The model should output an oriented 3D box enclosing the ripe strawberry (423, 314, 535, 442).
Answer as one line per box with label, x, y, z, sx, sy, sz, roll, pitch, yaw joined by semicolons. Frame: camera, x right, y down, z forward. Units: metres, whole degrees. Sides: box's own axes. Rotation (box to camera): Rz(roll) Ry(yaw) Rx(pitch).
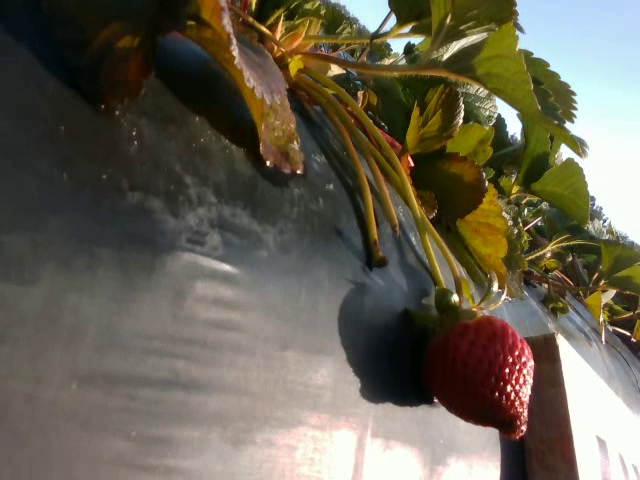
ripe strawberry;0.052;0.043;0.185;0.036;0.044;0.040;-31;-21;27
